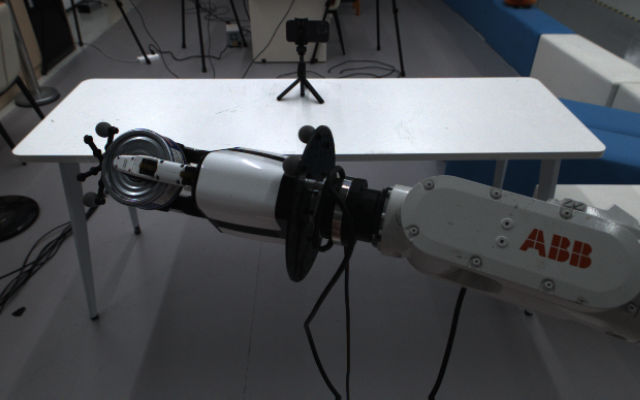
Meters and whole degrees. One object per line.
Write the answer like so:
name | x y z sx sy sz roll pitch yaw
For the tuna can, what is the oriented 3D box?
tuna can | -0.190 -0.034 0.529 0.085 0.085 0.034 10 -6 11
